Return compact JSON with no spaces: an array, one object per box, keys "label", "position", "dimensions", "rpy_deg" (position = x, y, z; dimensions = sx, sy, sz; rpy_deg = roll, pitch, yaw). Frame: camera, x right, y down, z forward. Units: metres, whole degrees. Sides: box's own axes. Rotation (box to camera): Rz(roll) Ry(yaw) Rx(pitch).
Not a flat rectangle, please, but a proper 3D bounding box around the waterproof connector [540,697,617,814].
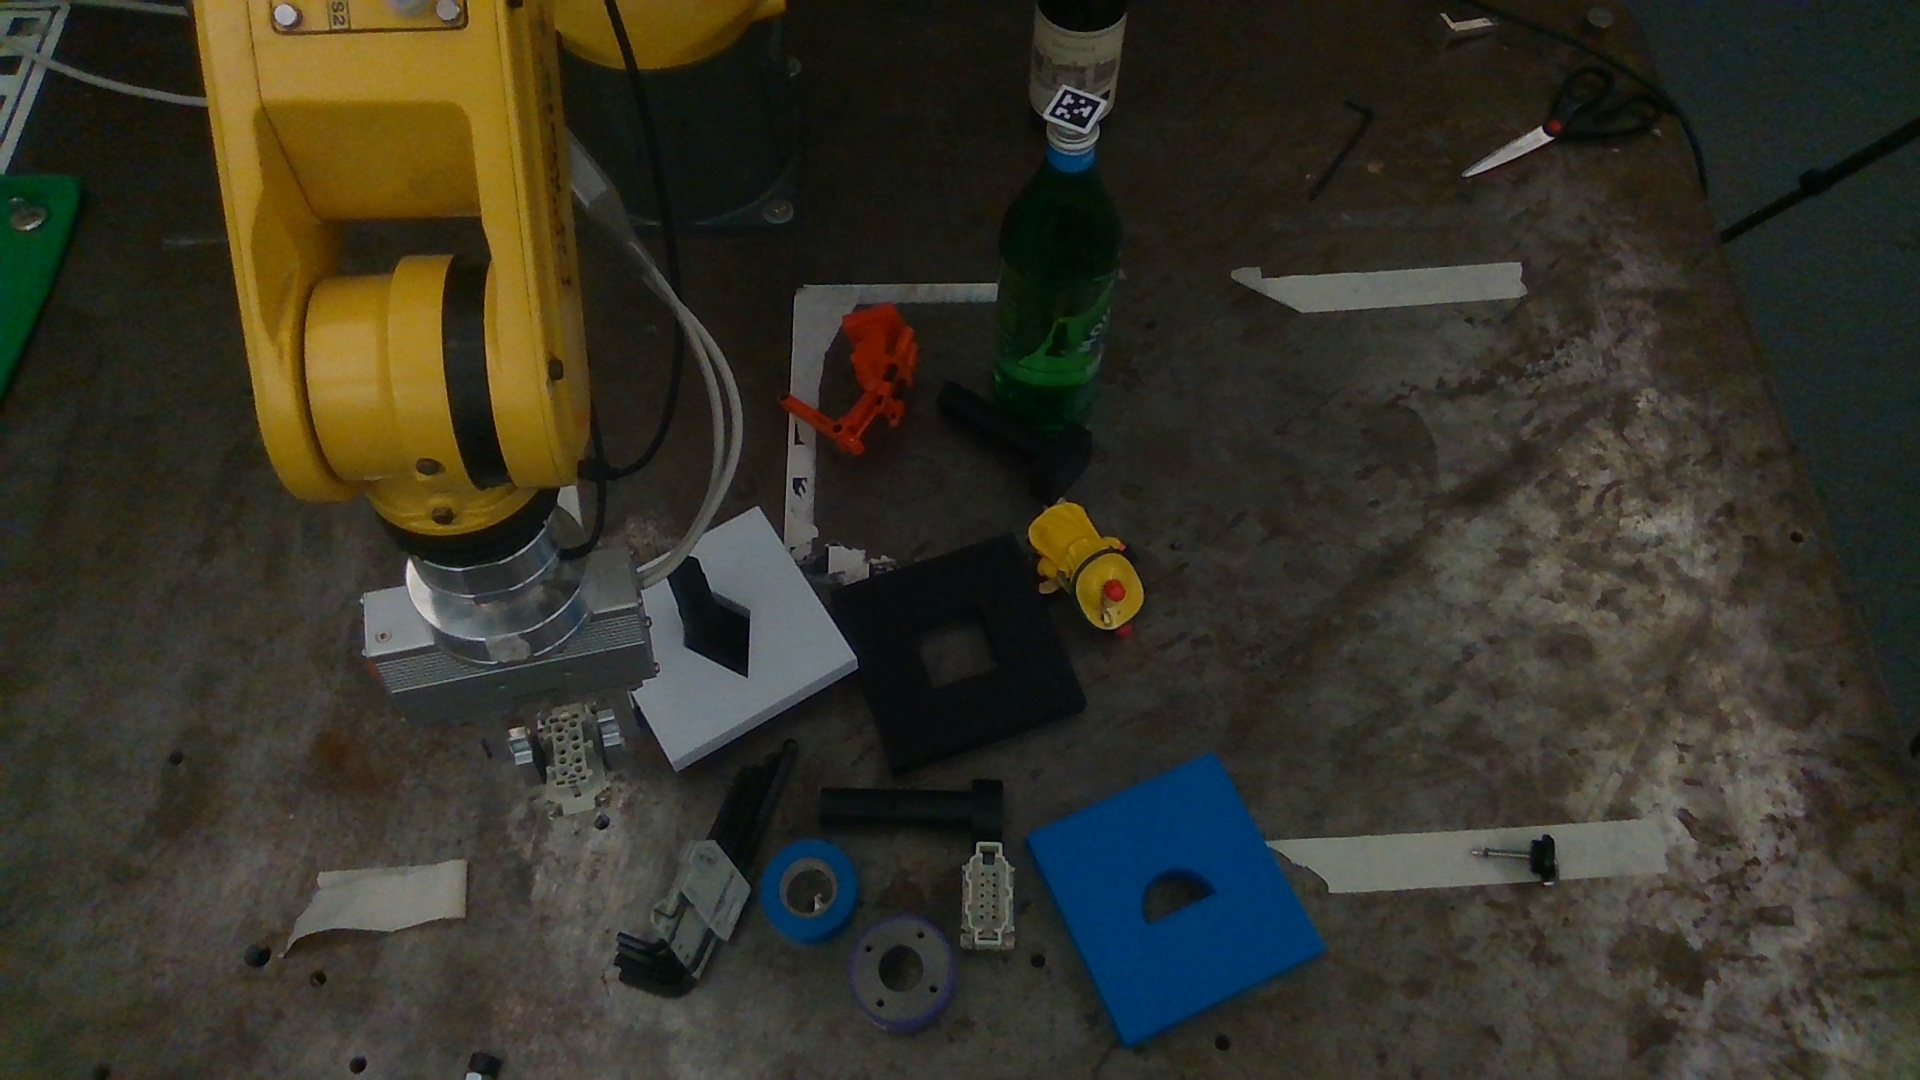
[{"label":"waterproof connector","position":[-0.223,0.124,0.805],"dimensions":[0.037,0.038,0.069],"rpy_deg":[-15,55,-4]}]
